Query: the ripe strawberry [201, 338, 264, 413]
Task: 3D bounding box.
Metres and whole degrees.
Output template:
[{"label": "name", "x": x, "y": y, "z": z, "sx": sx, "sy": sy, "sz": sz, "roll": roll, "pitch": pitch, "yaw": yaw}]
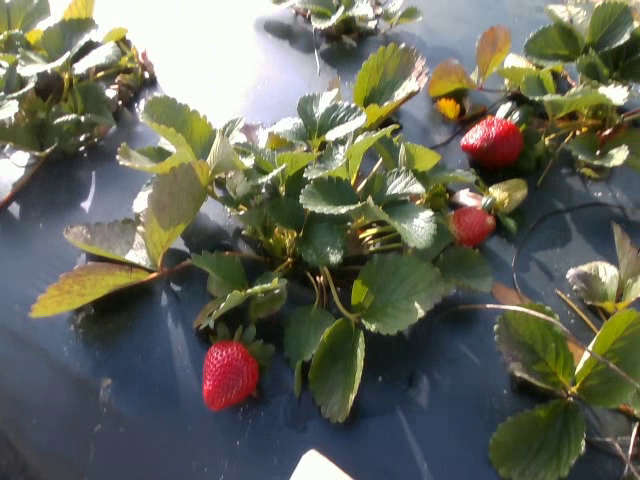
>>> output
[{"label": "ripe strawberry", "x": -0.055, "y": 0.079, "z": 0.364, "sx": 0.041, "sy": 0.041, "sz": 0.047, "roll": 0, "pitch": 31, "yaw": 31}]
